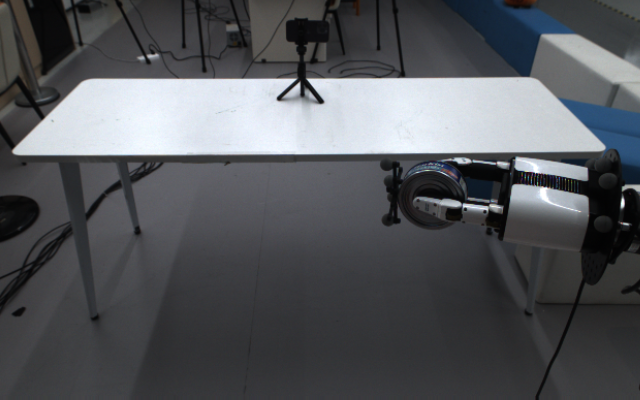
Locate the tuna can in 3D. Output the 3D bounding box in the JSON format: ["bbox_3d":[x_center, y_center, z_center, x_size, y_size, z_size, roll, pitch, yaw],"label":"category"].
[{"bbox_3d":[0.145,-0.011,0.621,0.085,0.085,0.034,12,27,14],"label":"tuna can"}]
